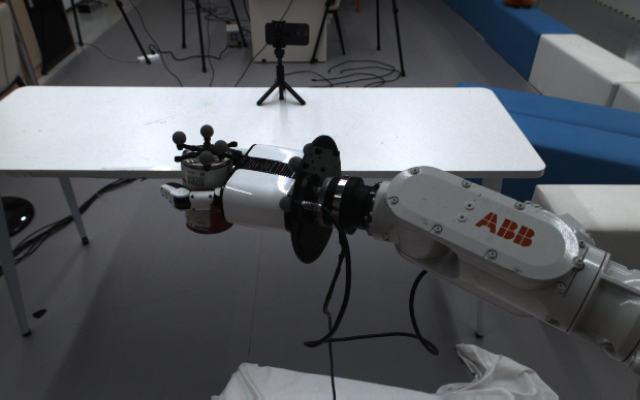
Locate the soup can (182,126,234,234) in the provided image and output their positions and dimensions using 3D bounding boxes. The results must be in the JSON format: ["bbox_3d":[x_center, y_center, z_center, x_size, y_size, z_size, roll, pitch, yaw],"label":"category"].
[{"bbox_3d":[-0.148,-0.013,0.647,0.067,0.101,0.067,4,31,-2],"label":"soup can"}]
